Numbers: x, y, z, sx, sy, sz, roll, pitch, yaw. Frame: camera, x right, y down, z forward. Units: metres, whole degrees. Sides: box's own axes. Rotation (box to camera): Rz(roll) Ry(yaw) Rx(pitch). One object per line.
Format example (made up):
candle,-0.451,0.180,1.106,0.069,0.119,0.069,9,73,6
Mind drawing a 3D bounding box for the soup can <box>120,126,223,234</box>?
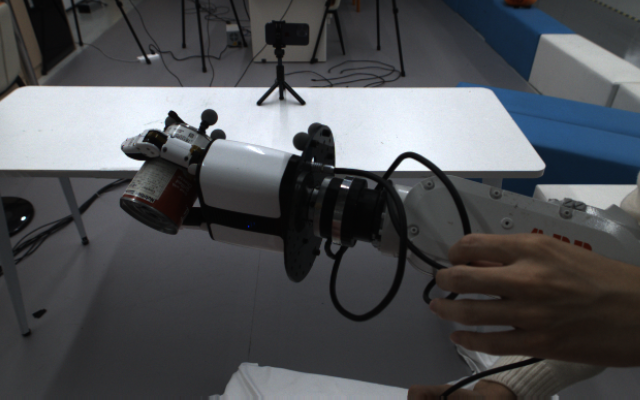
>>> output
soup can,-0.157,-0.023,0.521,0.067,0.067,0.101,15,63,18
